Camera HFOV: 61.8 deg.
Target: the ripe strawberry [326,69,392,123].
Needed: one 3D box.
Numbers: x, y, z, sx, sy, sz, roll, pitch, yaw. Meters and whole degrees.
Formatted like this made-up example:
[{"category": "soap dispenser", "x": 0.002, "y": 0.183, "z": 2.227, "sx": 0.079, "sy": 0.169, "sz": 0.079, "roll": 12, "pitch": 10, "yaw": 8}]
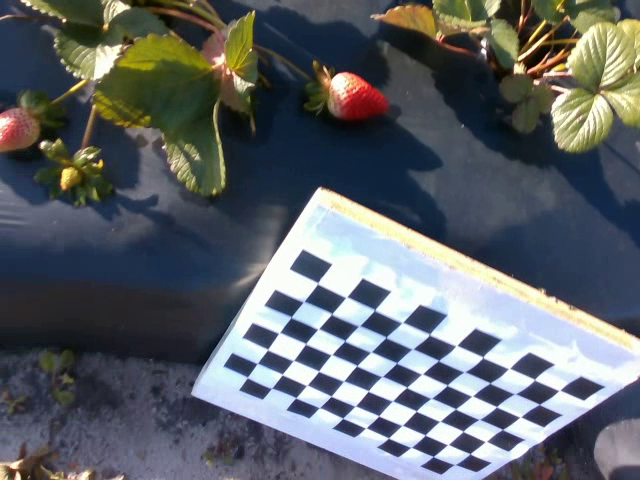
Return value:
[{"category": "ripe strawberry", "x": 0.033, "y": -0.116, "z": 0.419, "sx": 0.063, "sy": 0.045, "sz": 0.044, "roll": 12, "pitch": 41, "yaw": -1}]
